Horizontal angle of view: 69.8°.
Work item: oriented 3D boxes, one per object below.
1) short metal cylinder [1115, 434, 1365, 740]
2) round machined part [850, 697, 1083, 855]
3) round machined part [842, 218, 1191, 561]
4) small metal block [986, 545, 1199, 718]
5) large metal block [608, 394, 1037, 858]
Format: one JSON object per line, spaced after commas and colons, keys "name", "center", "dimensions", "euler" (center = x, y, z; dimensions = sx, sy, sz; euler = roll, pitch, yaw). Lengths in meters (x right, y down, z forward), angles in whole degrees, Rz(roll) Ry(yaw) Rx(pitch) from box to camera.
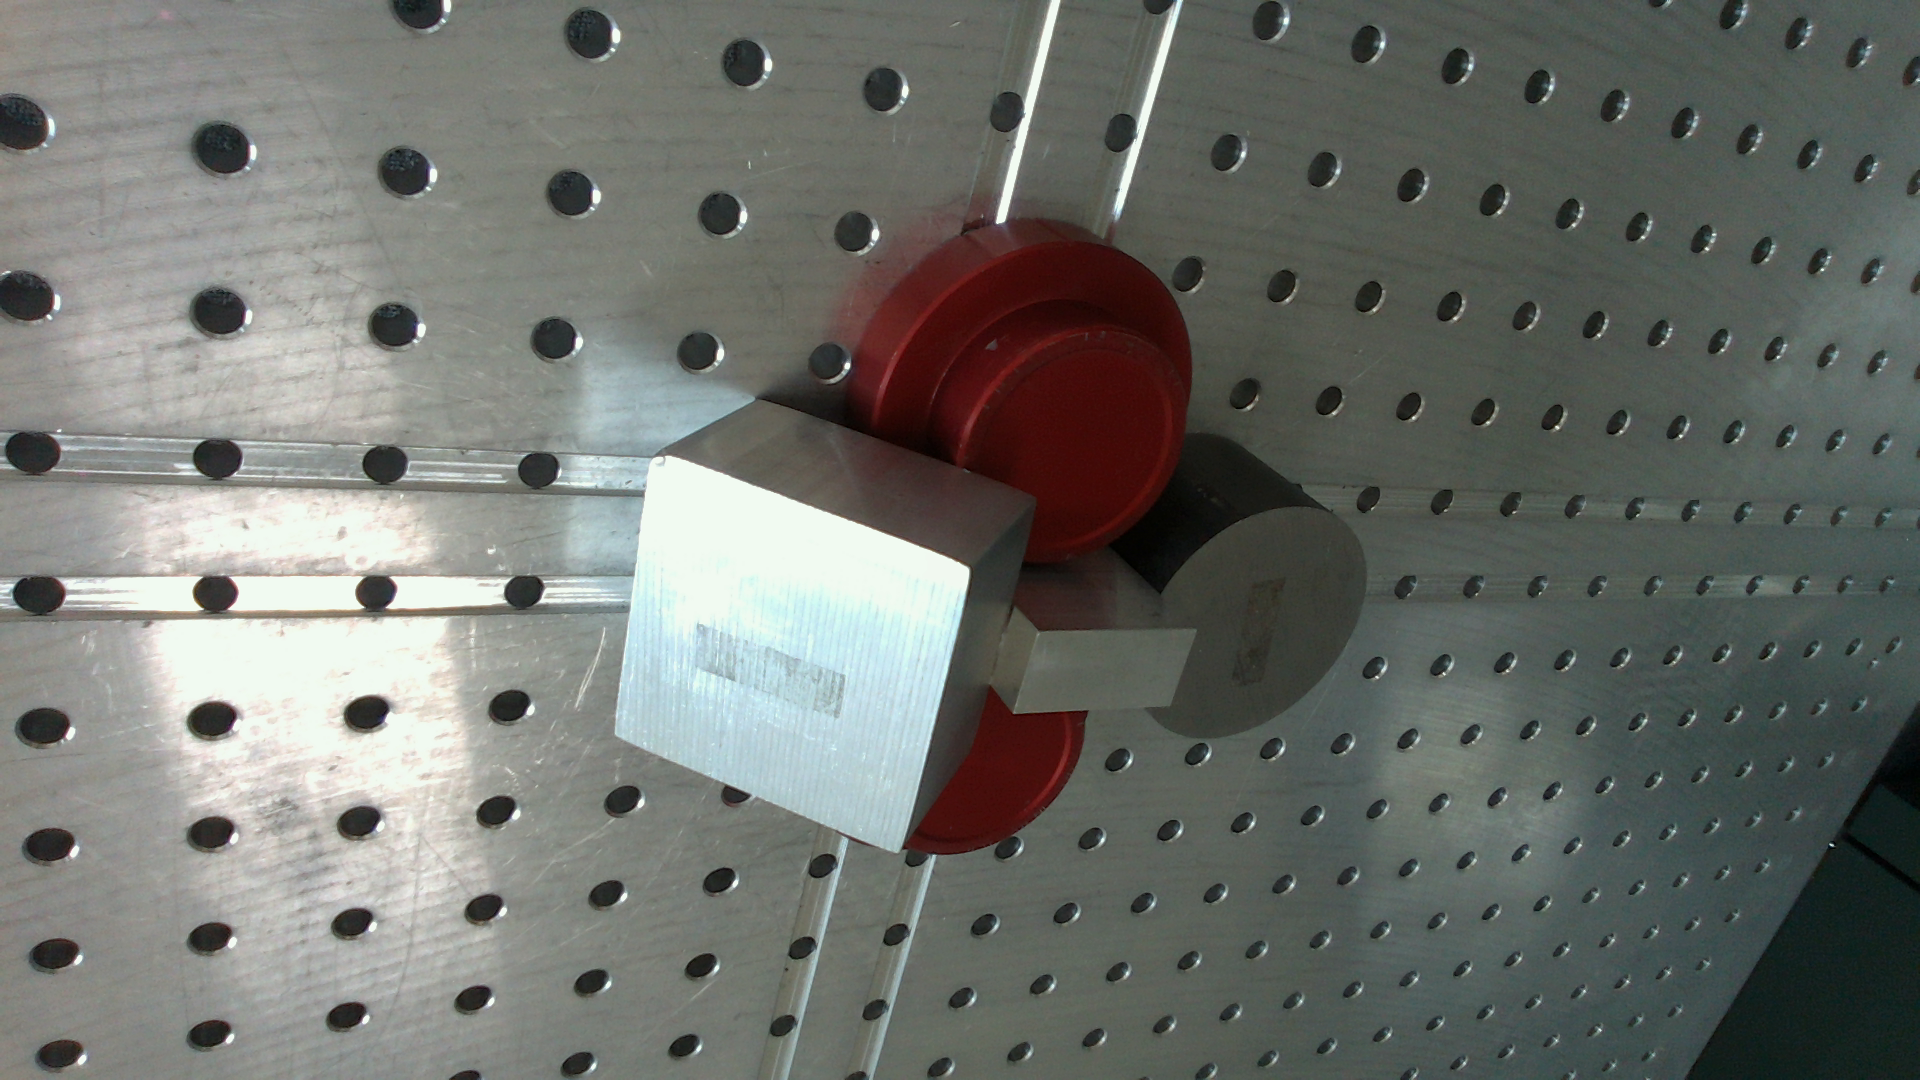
{"name": "short metal cylinder", "center": [0.076, 0.014, 0.425], "dimensions": [0.080, 0.050, 0.080], "euler": [-14, 124, -21]}
{"name": "round machined part", "center": [-0.003, 0.055, 0.414], "dimensions": [0.098, 0.042, 0.098], "euler": [-14, 124, -21]}
{"name": "round machined part", "center": [0.021, -0.034, 0.372], "dimensions": [0.098, 0.042, 0.098], "euler": [-14, 124, -21]}
{"name": "small metal block", "center": [0.028, 0.023, 0.377], "dimensions": [0.050, 0.050, 0.025], "euler": [1, 118, -29]}
{"name": "large metal block", "center": [-0.035, 0.019, 0.342], "dimensions": [0.050, 0.080, 0.080], "euler": [-45, 152, -61]}
